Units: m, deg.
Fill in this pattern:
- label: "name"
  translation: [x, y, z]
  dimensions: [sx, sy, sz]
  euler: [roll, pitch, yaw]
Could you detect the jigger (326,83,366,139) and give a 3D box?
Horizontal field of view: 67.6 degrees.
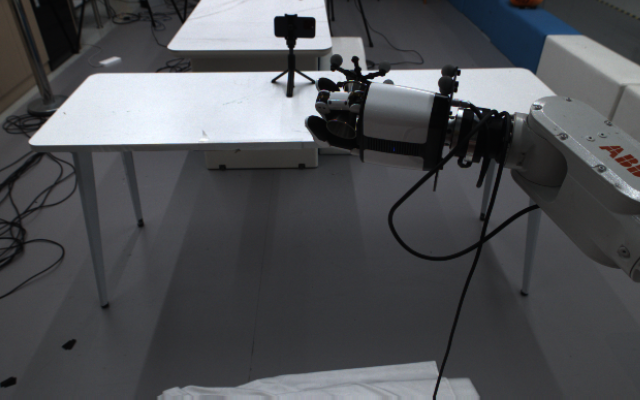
- label: "jigger"
  translation: [0.042, -0.122, 0.657]
  dimensions: [0.043, 0.043, 0.071]
  euler: [13, 70, 16]
